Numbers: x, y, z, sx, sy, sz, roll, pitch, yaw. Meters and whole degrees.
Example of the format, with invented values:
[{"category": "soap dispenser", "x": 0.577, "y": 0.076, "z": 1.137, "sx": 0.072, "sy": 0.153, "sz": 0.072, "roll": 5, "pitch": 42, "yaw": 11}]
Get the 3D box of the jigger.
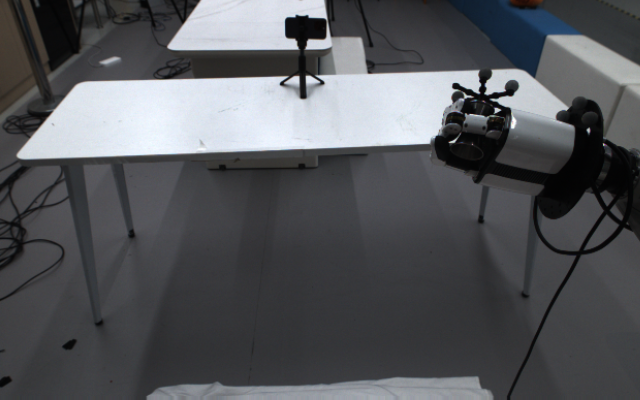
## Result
[{"category": "jigger", "x": 0.204, "y": -0.095, "z": 0.641, "sx": 0.043, "sy": 0.043, "sz": 0.071, "roll": 15, "pitch": 70, "yaw": 17}]
